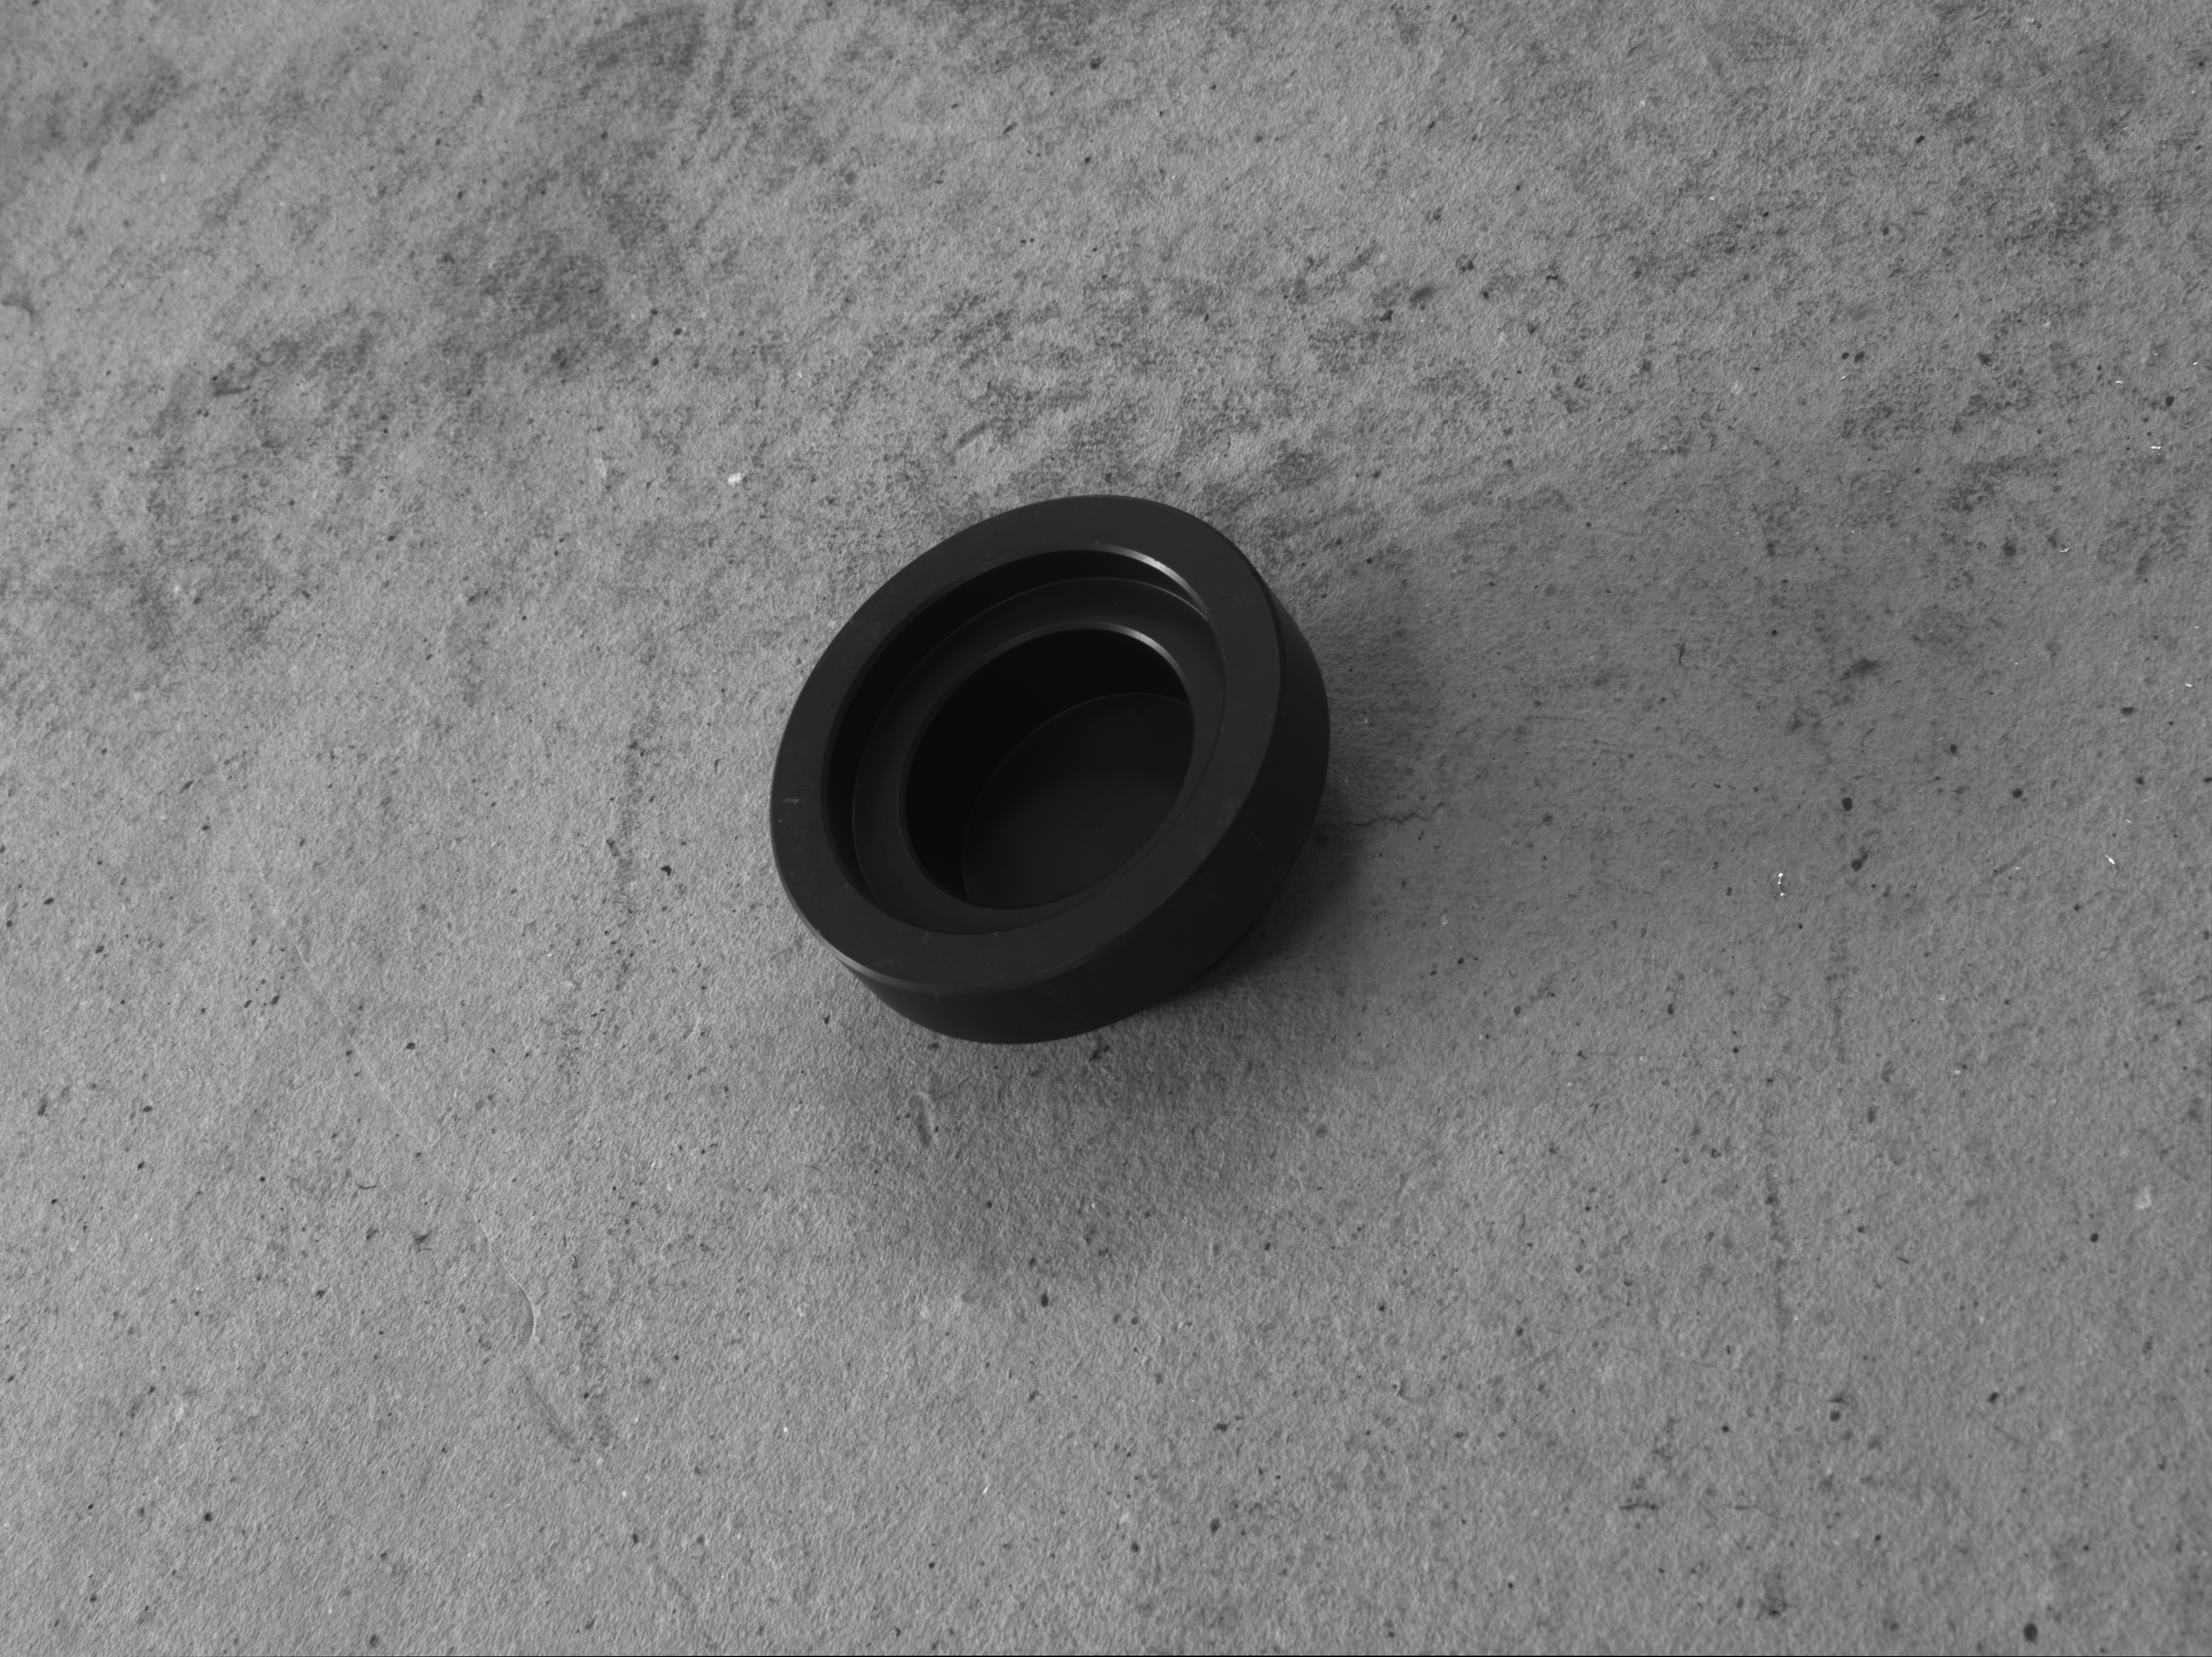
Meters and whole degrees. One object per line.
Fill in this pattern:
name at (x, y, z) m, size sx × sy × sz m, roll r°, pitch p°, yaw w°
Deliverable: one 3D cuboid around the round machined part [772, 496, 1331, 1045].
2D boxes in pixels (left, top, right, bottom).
round machined part at (-0.006, -0.006, 0.642) m, size 0.098 × 0.042 × 0.098 m, roll -14°, pitch 56°, yaw 21°
